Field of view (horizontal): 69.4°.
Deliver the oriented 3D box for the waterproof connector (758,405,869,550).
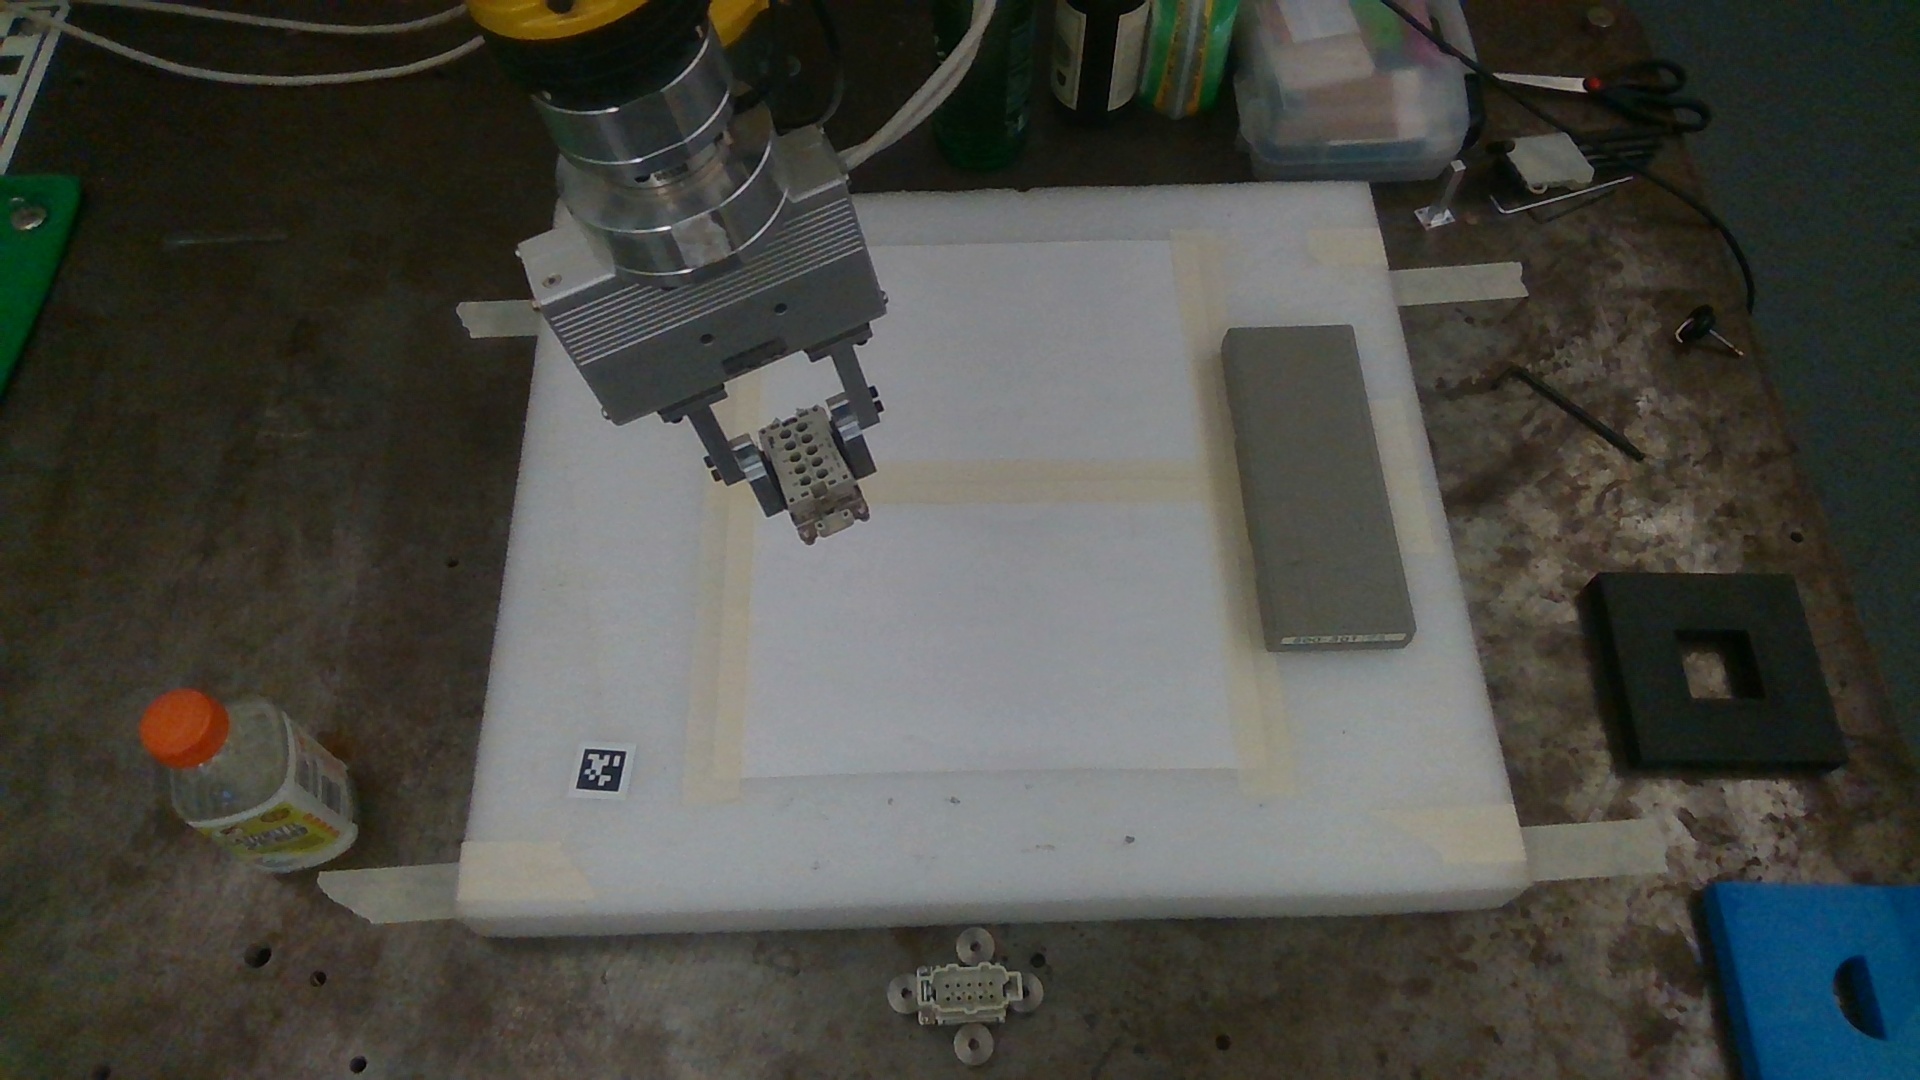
[{"bbox_3d":[-0.070,-0.032,0.659,0.037,0.038,0.069,-20,66,-6],"label":"waterproof connector"}]
